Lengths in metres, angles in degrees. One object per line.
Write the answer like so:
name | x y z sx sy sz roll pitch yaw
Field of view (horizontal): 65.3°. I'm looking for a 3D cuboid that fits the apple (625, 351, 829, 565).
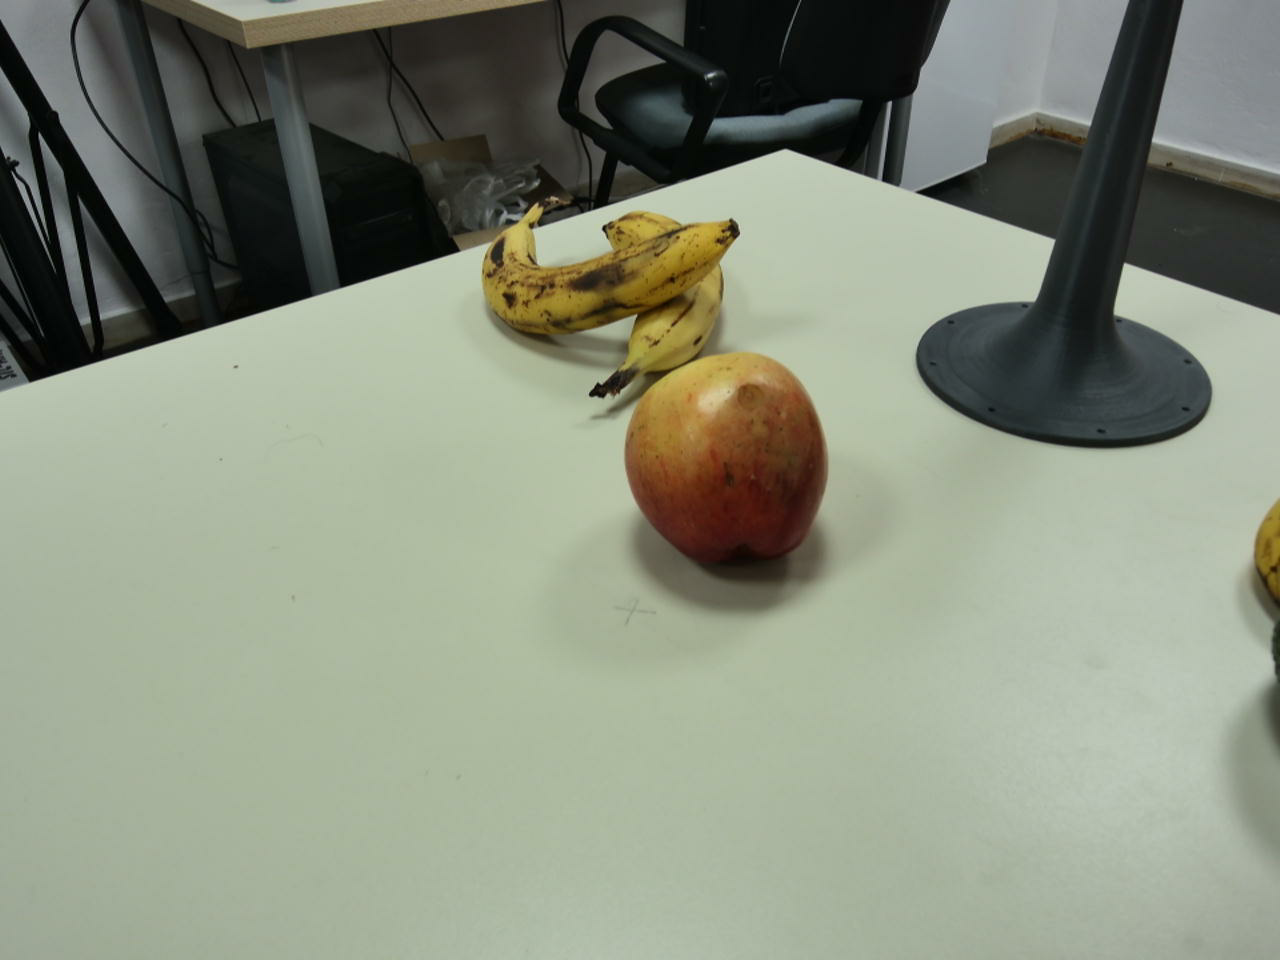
apple | 0.037 -0.011 0.424 0.086 0.084 0.093 9 36 14
